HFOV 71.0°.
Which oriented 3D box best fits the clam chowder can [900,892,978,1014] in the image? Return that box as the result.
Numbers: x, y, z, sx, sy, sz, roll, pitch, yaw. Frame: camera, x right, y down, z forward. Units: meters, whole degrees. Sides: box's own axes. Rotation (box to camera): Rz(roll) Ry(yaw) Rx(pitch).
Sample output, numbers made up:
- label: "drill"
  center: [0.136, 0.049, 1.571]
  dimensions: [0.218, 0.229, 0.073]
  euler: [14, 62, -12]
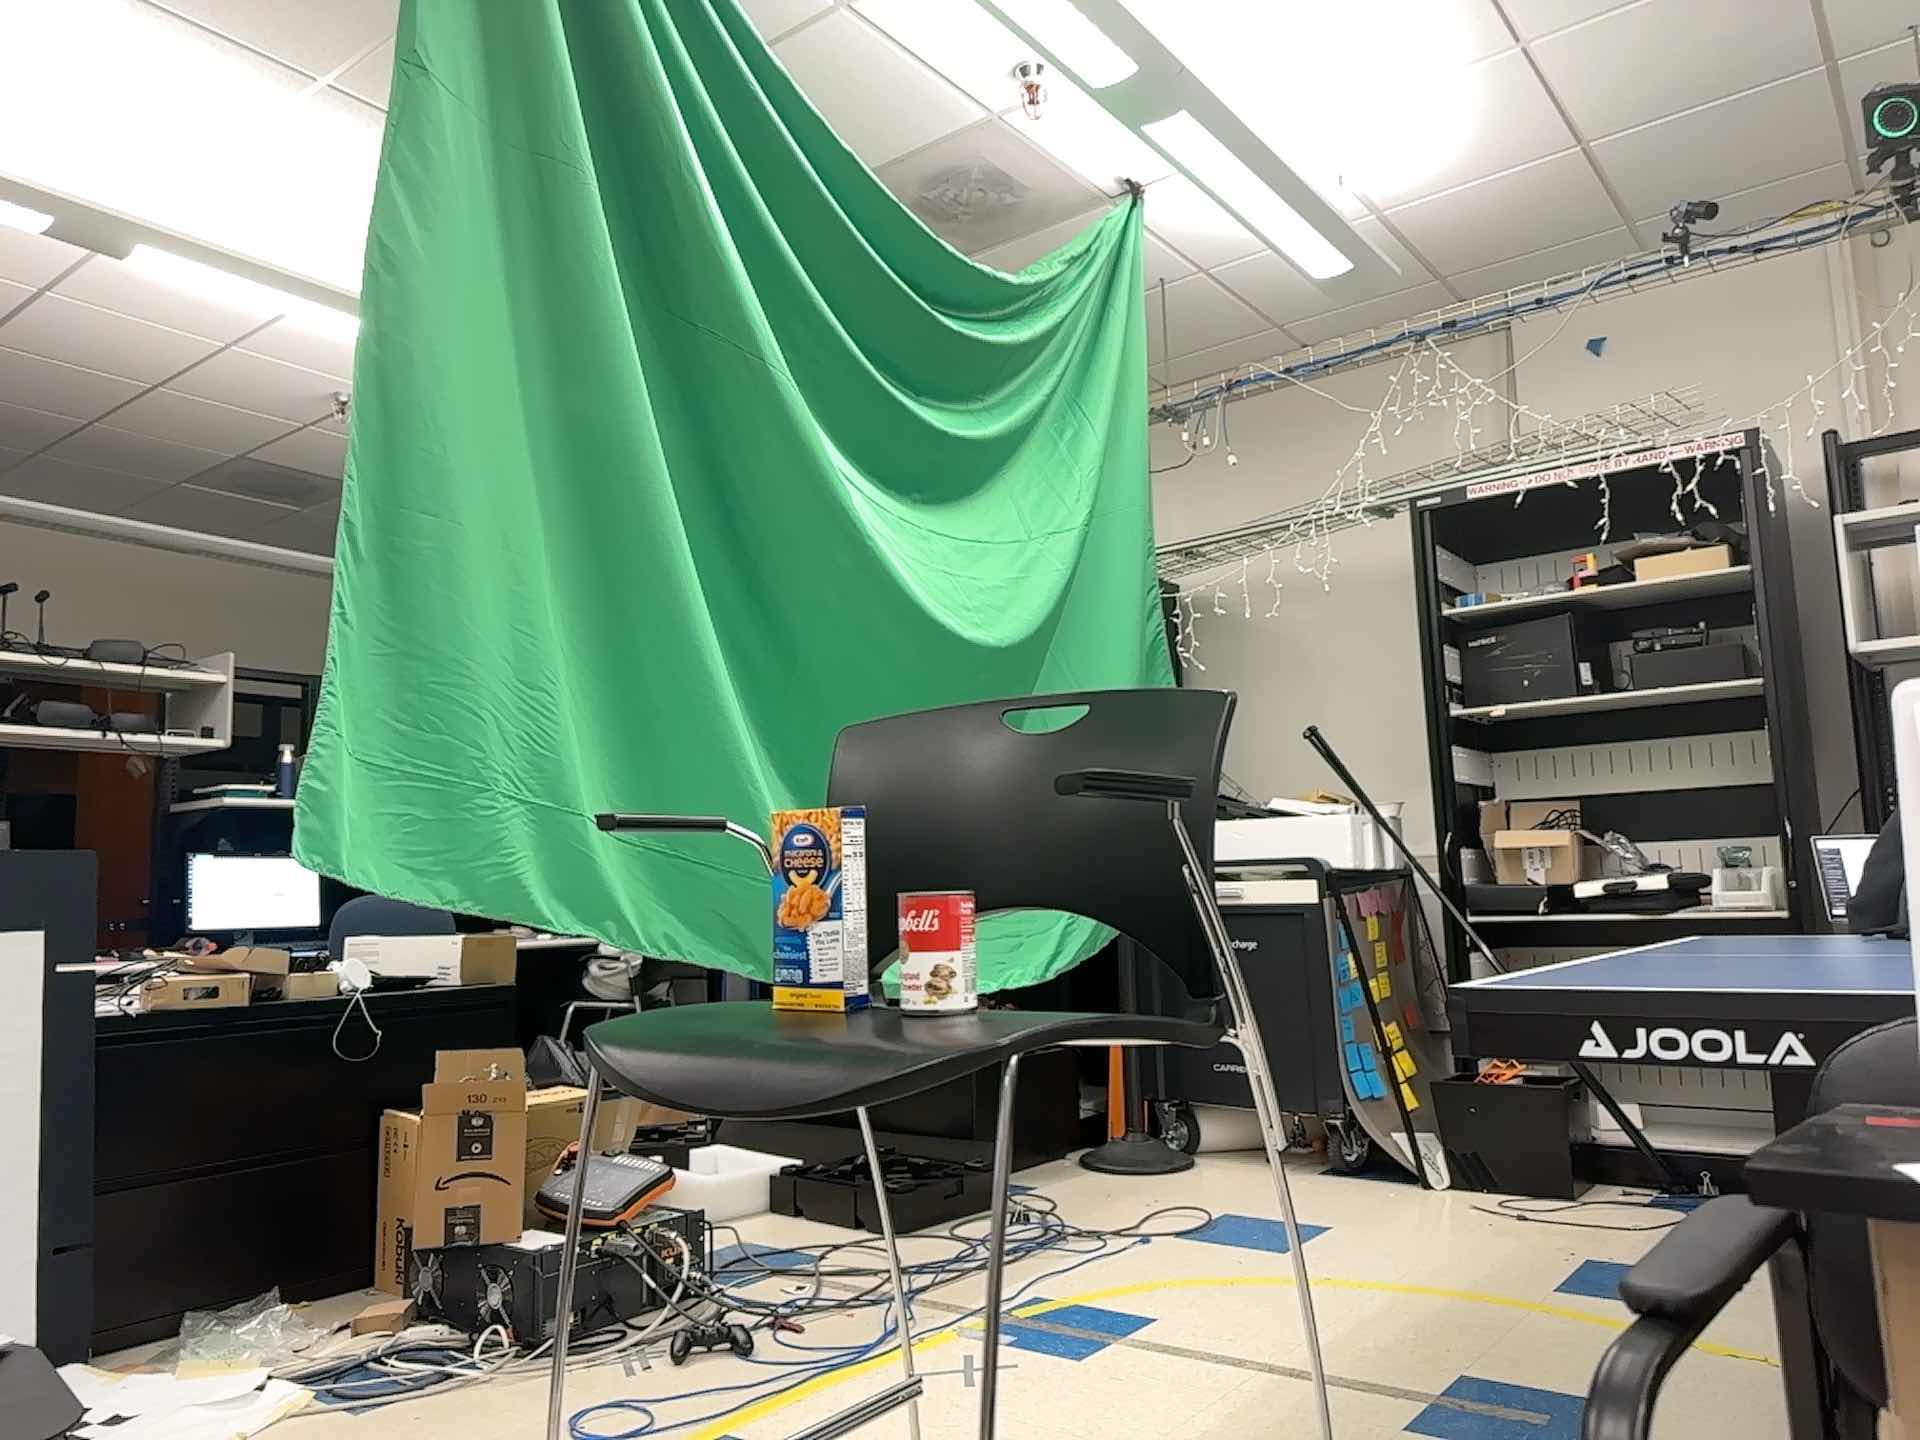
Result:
- label: "clam chowder can"
  center: [-0.018, 0.202, 1.174]
  dimensions: [0.068, 0.102, 0.068]
  euler: [-1, -7, 0]

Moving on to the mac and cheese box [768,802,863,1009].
- label: "mac and cheese box"
  center: [-0.135, 0.170, 1.247]
  dimensions: [0.088, 0.181, 0.035]
  euler: [-6, -6, 42]
